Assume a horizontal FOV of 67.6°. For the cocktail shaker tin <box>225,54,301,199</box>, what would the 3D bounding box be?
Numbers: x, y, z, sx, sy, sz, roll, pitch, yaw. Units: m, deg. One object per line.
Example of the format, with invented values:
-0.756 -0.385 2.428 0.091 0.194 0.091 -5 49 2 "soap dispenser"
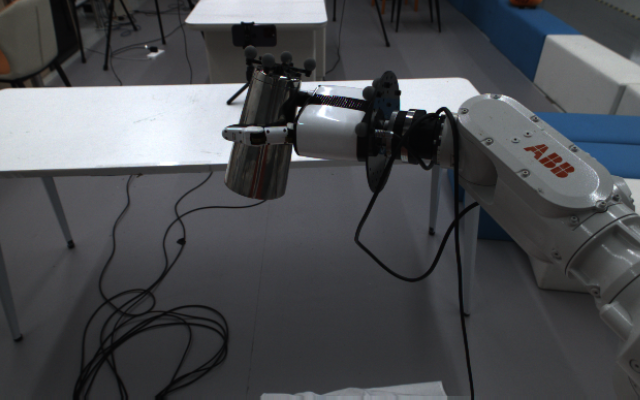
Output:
-0.075 -0.099 0.684 0.093 0.170 0.093 12 24 -5 "cocktail shaker tin"
